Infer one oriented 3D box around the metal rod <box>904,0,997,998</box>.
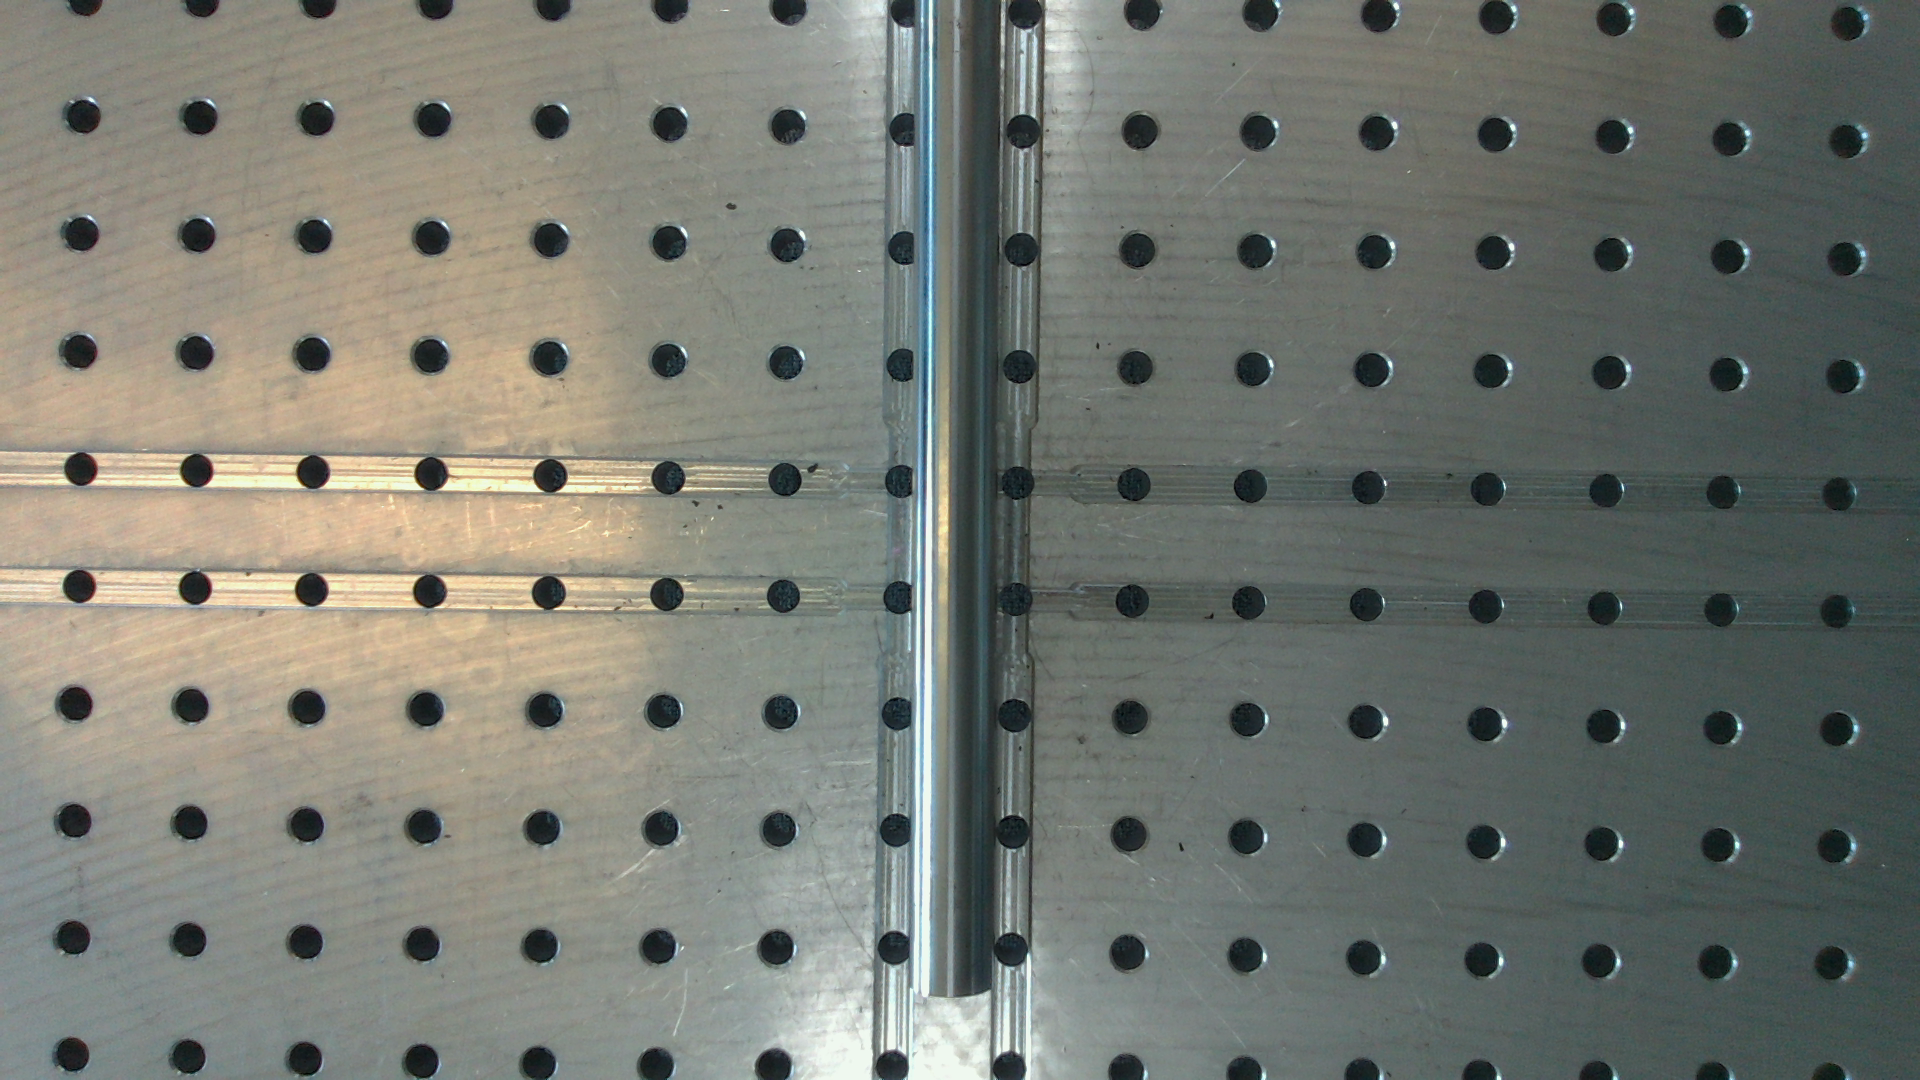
[{"bbox_3d":[-0.003,-0.021,0.398,0.025,0.025,0.300,0,90,0],"label":"metal rod"}]
